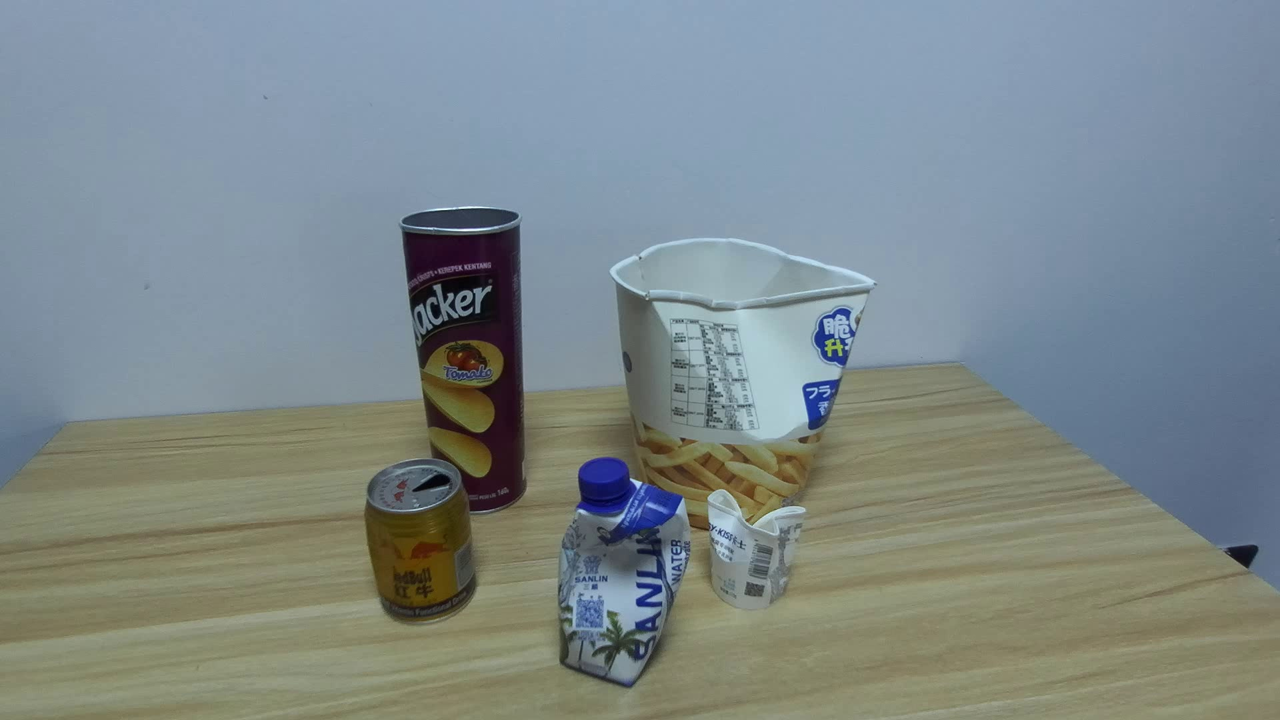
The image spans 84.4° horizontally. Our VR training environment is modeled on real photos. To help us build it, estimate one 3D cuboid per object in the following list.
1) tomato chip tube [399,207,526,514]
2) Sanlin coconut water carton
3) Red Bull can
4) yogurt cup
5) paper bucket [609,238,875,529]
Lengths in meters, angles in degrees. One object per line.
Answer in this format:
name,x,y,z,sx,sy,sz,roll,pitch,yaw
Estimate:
tomato chip tube,-0.132,0.004,0.560,0.080,0.234,0.077,13,27,22
Sanlin coconut water carton,-0.011,0.128,0.417,0.068,0.144,0.057,18,36,15
Red Bull can,-0.148,0.122,0.478,0.068,0.093,0.068,2,25,-1
yogurt cup,0.077,0.130,0.495,0.055,0.072,0.054,-24,37,-37
paper bucket,0.065,0.020,0.579,0.163,0.202,0.168,-22,32,-36
